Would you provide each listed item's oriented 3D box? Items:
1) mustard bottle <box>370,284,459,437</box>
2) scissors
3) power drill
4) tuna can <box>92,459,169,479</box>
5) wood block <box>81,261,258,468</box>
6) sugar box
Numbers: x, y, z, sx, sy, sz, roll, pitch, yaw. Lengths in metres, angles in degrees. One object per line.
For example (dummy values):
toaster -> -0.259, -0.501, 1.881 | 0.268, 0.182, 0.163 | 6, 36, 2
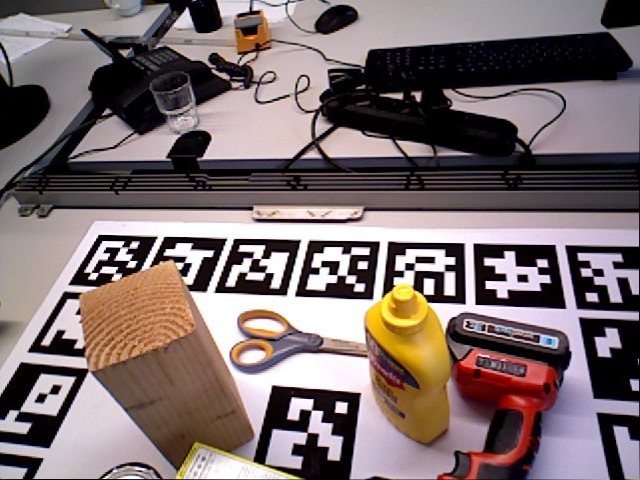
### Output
mustard bottle -> 0.086, 0.102, 0.499 | 0.057, 0.195, 0.096 | -30, 50, -16
scissors -> -0.031, 0.110, 0.627 | 0.203, 0.016, 0.086 | 2, 45, 14
power drill -> 0.133, 0.180, 0.499 | 0.185, 0.058, 0.183 | 11, 59, 21
tuna can -> -0.180, 0.253, 0.513 | 0.086, 0.034, 0.084 | -6, 48, 6
wood block -> -0.135, 0.124, 0.519 | 0.090, 0.210, 0.089 | -20, 48, -8
sugar box -> -0.021, 0.232, 0.463 | 0.177, 0.095, 0.044 | 11, 47, 19
